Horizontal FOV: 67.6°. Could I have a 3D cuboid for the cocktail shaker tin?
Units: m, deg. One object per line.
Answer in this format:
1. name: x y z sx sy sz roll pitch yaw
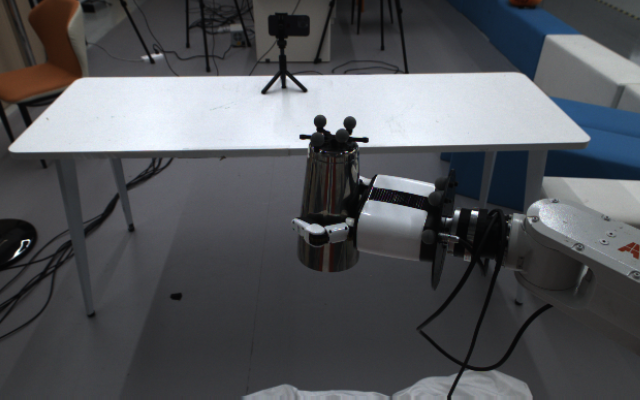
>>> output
1. cocktail shaker tin: 0.017 0.002 0.667 0.093 0.170 0.093 2 28 -1
